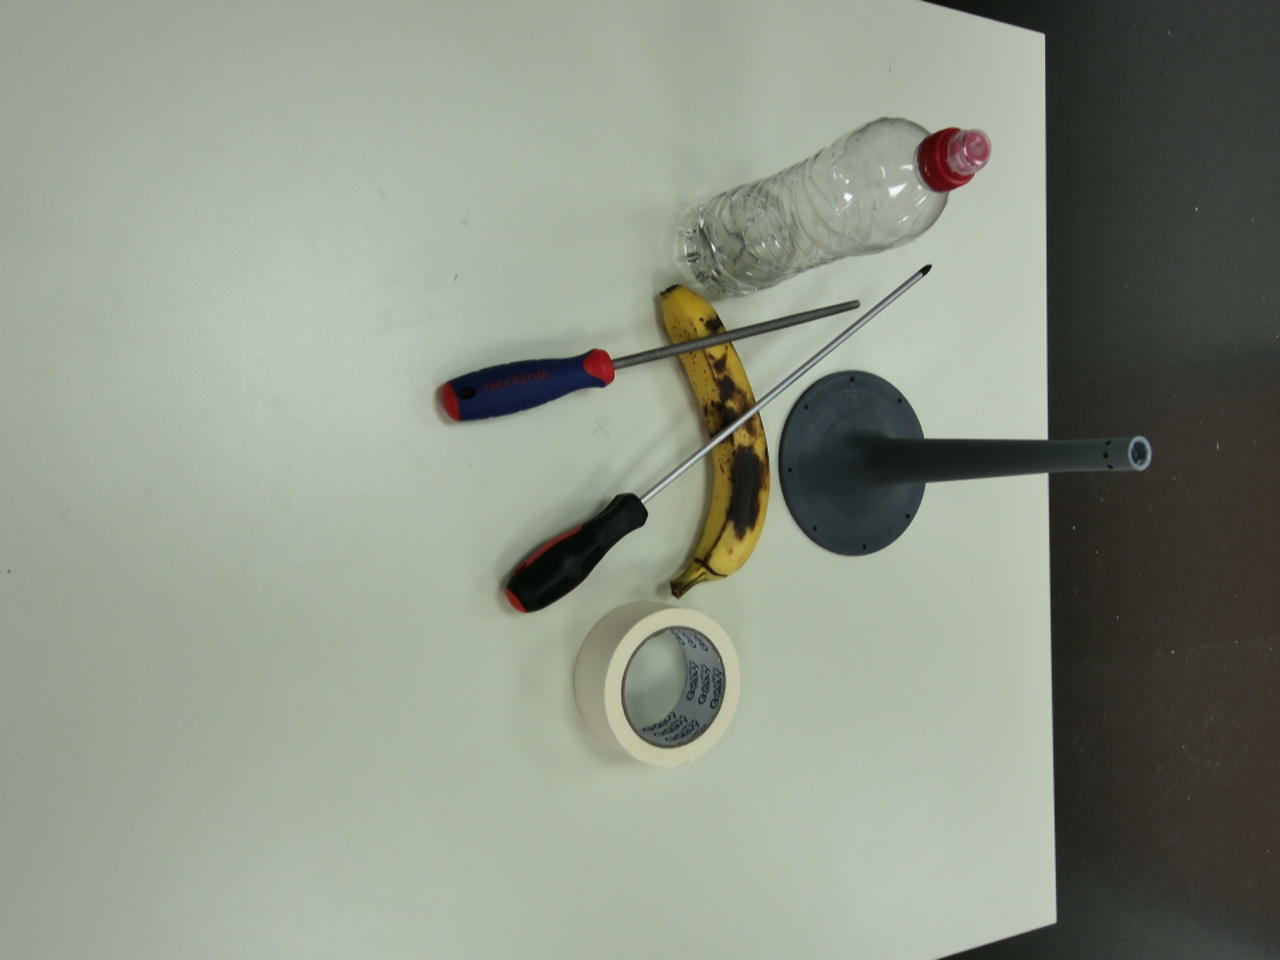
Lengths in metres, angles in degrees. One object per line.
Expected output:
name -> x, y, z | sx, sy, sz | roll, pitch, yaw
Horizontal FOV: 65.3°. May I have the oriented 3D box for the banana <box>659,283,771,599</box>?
banana -> 0.056, -0.028, 0.719 | 0.084, 0.038, 0.222 | 0, 90, -28
